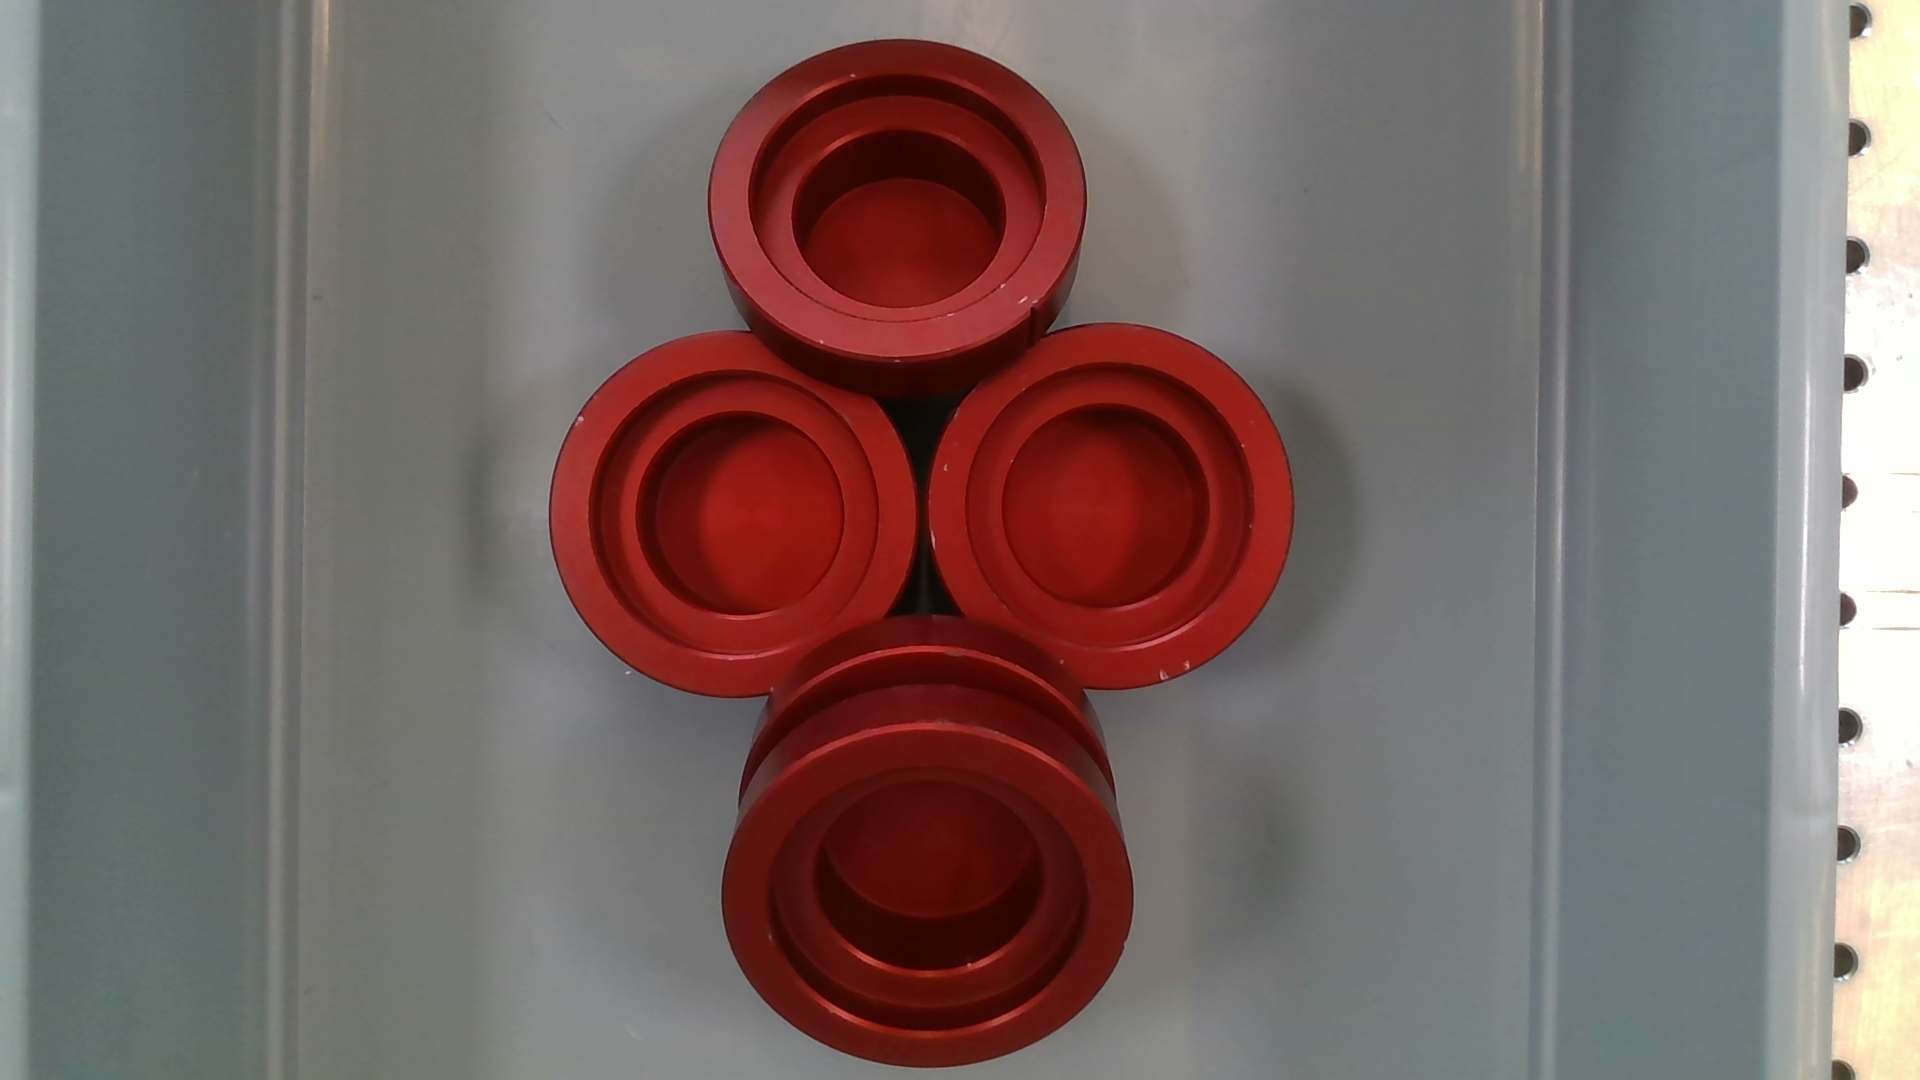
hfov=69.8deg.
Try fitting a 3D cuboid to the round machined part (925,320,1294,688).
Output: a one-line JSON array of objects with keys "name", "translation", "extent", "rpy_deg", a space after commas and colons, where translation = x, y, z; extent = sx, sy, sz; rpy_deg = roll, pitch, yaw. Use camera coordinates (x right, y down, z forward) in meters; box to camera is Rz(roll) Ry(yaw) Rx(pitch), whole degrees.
[{"name": "round machined part", "translation": [0.040, -0.010, 0.385], "extent": [0.098, 0.042, 0.098], "rpy_deg": [0, 90, 0]}]

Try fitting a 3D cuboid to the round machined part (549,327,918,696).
[{"name": "round machined part", "translation": [-0.060, -0.007, 0.385], "extent": [0.098, 0.042, 0.098], "rpy_deg": [0, 90, 0]}]

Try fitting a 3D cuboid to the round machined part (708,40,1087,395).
[{"name": "round machined part", "translation": [-0.016, -0.083, 0.375], "extent": [0.098, 0.042, 0.098], "rpy_deg": [0, 69, 0]}]

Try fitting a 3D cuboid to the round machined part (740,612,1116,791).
[{"name": "round machined part", "translation": [-0.008, 0.064, 0.375], "extent": [0.098, 0.042, 0.098], "rpy_deg": [0, 112, -1]}]

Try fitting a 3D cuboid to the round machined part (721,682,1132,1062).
[{"name": "round machined part", "translation": [-0.008, 0.079, 0.347], "extent": [0.098, 0.042, 0.098], "rpy_deg": [0, 112, 0]}]
